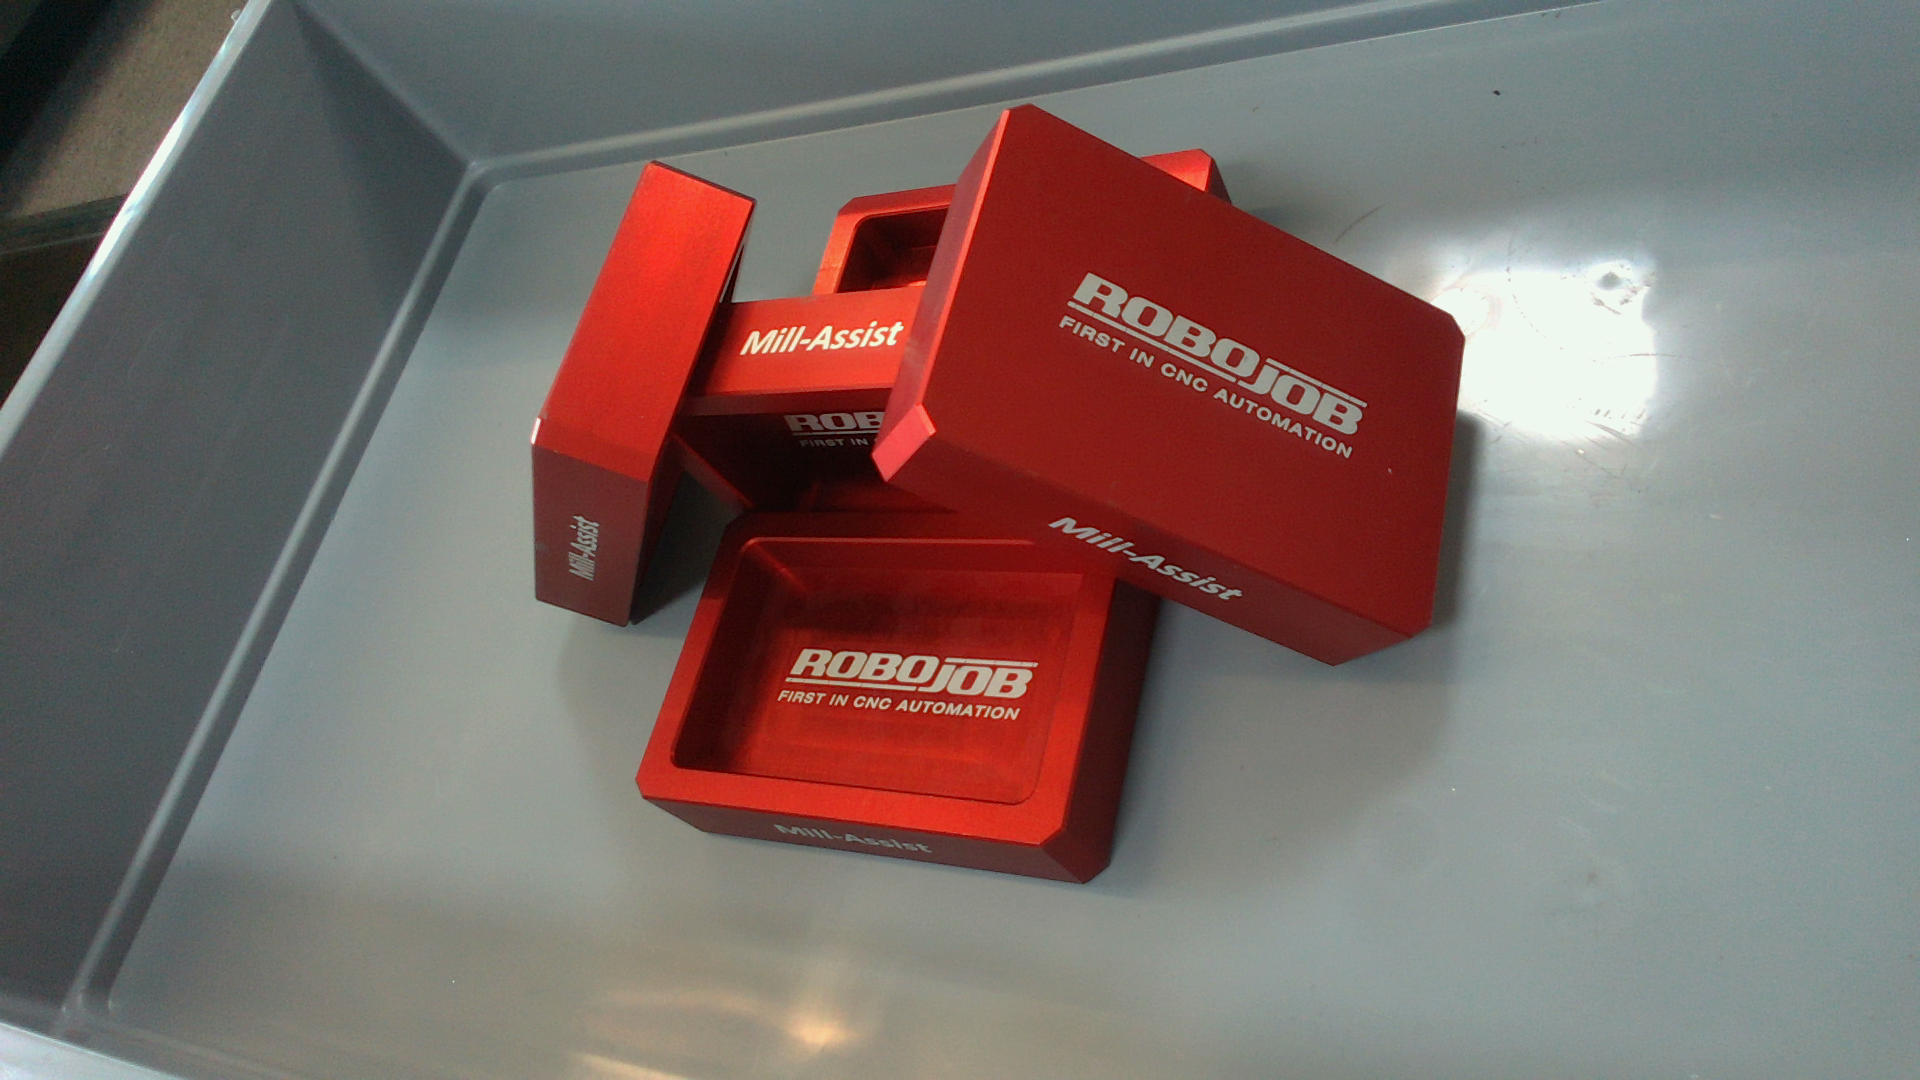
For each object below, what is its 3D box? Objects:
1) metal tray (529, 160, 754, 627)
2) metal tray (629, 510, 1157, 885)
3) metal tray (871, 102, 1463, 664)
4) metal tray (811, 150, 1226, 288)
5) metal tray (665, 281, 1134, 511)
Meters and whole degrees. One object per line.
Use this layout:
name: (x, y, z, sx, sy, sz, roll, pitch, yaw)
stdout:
metal tray: (-0.096, -0.037, 0.408, 0.030, 0.130, 0.090, 19, 65, -9)
metal tray: (-0.018, 0.038, 0.373, 0.130, 0.030, 0.090, 1, 62, 28)
metal tray: (0.053, -0.035, 0.325, 0.030, 0.130, 0.090, -40, 31, 61)
metal tray: (0.013, -0.068, 0.424, 0.130, 0.030, 0.090, 0, 62, 28)
metal tray: (-0.017, -0.029, 0.377, 0.130, 0.090, 0.030, 1, 62, 28)
